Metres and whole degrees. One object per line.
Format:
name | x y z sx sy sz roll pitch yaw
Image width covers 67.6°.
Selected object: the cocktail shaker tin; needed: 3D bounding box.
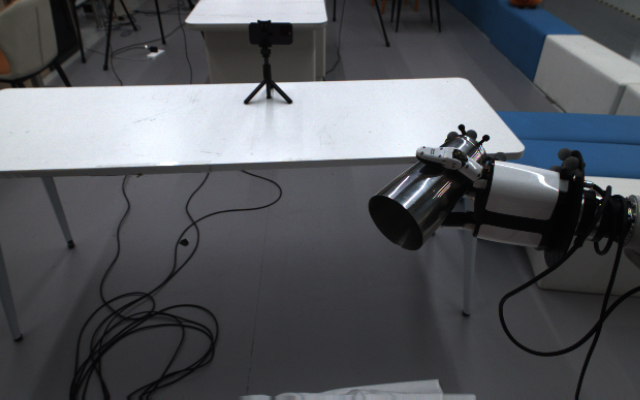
cocktail shaker tin | 0.157 -0.024 0.673 0.170 0.093 0.093 -38 50 -24
